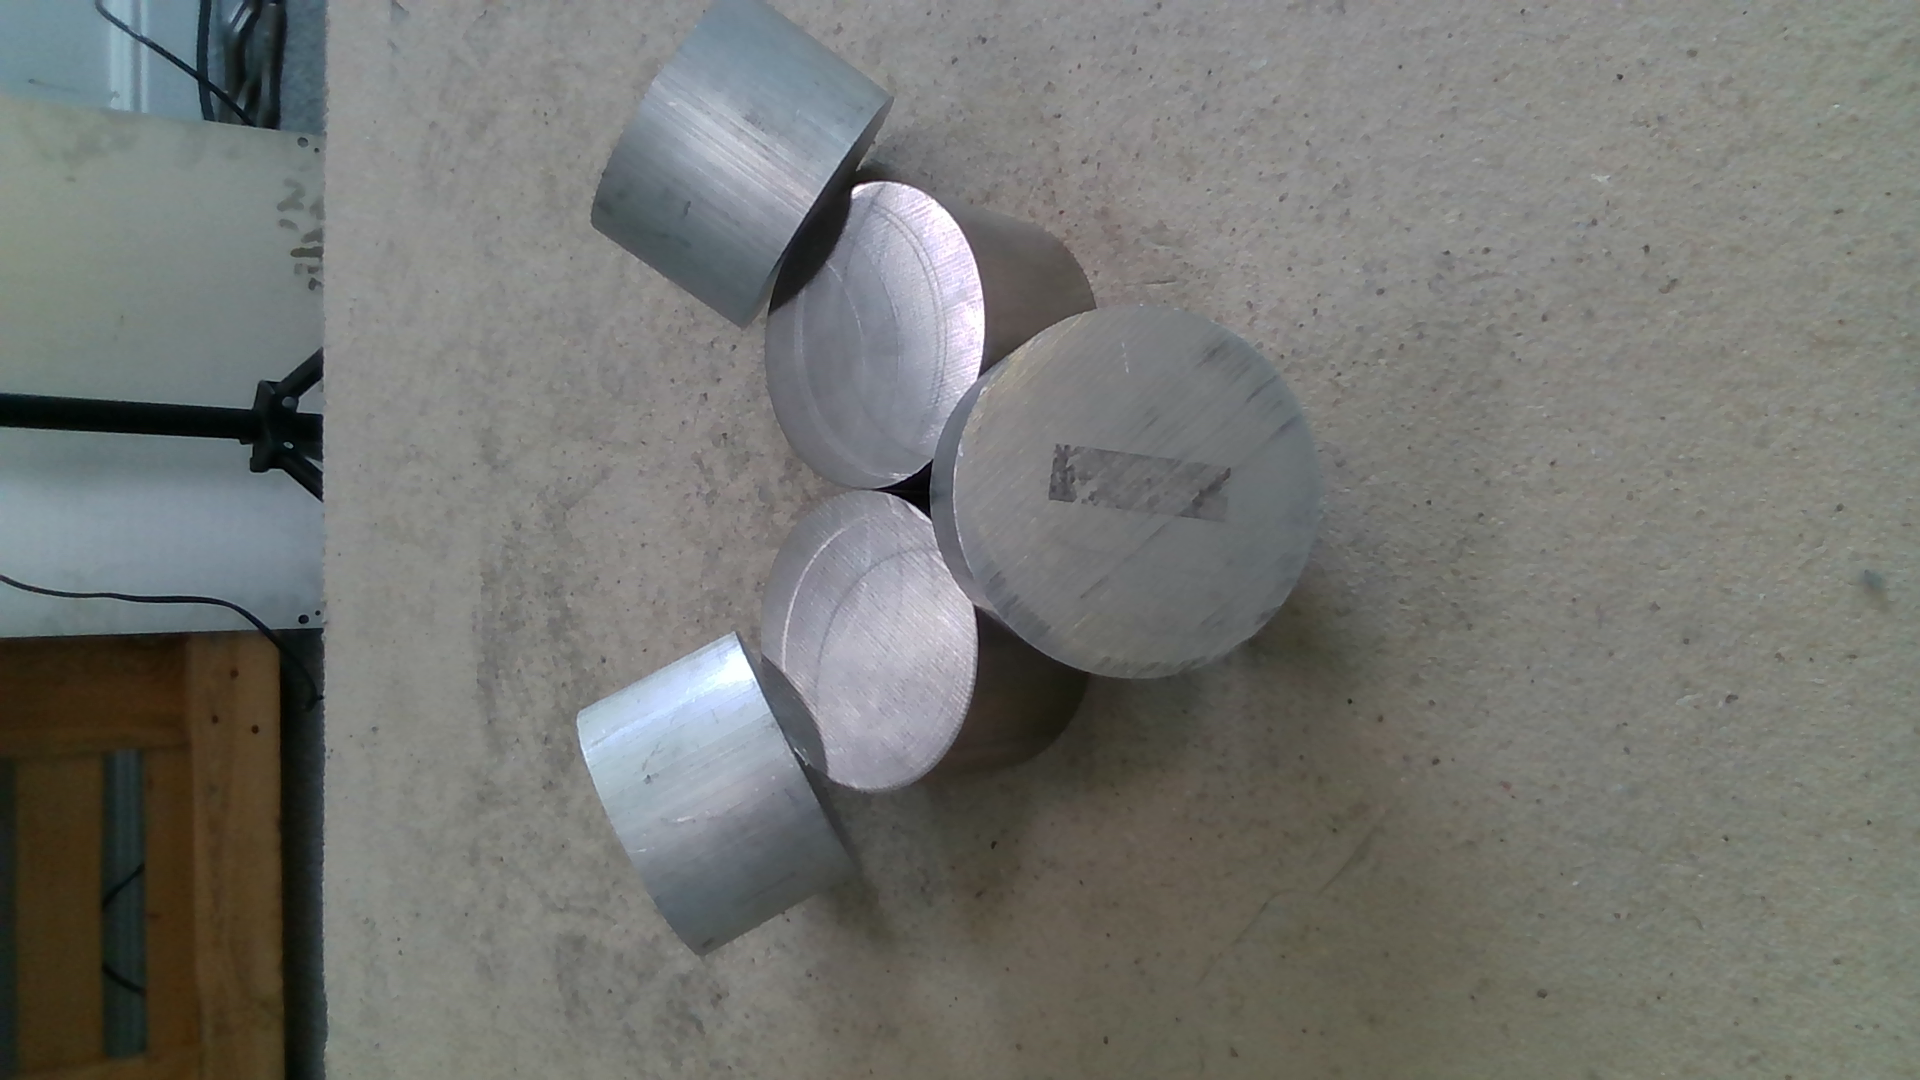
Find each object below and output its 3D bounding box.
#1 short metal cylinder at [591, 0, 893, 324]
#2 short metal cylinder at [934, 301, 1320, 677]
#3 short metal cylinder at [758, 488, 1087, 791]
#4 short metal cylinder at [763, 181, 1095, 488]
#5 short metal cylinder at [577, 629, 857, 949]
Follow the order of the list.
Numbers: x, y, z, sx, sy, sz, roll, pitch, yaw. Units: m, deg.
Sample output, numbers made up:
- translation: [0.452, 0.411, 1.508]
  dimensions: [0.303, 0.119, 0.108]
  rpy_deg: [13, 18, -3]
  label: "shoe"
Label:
- translation: [-0.062, -0.109, 0.398]
  dimensions: [0.050, 0.080, 0.080]
  rpy_deg: [34, 118, -9]
  label: "short metal cylinder"
- translation: [0.035, -0.011, 0.318]
  dimensions: [0.050, 0.080, 0.080]
  rpy_deg: [-168, 79, -83]
  label: "short metal cylinder"
- translation: [-0.010, 0.026, 0.384]
  dimensions: [0.080, 0.050, 0.080]
  rpy_deg: [0, 91, 40]
  label: "short metal cylinder"
- translation: [-0.009, -0.054, 0.381]
  dimensions: [0.080, 0.050, 0.080]
  rpy_deg: [0, 91, 40]
  label: "short metal cylinder"
- translation: [-0.071, 0.073, 0.407]
  dimensions: [0.050, 0.080, 0.080]
  rpy_deg: [-27, 67, -7]
  label: "short metal cylinder"
